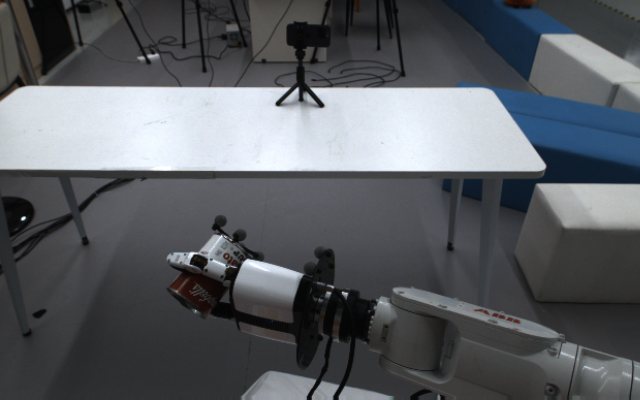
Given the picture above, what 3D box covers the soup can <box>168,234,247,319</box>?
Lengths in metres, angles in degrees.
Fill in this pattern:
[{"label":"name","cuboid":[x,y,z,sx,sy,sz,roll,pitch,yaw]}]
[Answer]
[{"label":"soup can","cuboid":[-0.153,0.104,0.671,0.067,0.067,0.101,23,60,27]}]
